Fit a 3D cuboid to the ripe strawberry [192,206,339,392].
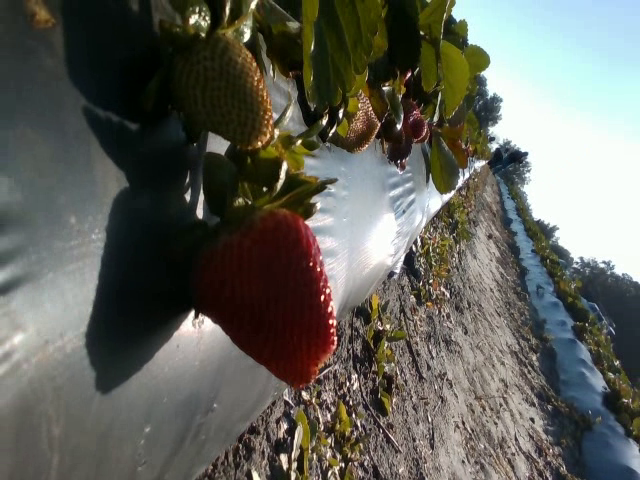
[{"bbox_3d":[-0.015,0.018,0.174,0.042,0.058,0.042,-19,-15,2],"label":"ripe strawberry"}]
